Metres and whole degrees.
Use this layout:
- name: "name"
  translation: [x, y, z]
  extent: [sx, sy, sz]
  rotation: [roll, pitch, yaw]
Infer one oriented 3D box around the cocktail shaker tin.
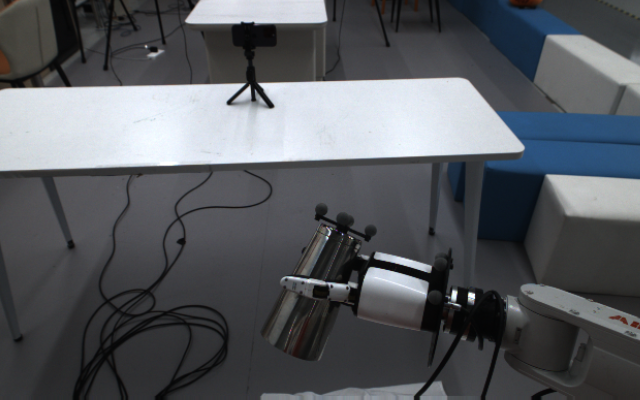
- name: "cocktail shaker tin"
  translation: [-0.003, 0.120, 0.670]
  extent: [0.093, 0.170, 0.093]
  rotation: [23, 0, 0]
